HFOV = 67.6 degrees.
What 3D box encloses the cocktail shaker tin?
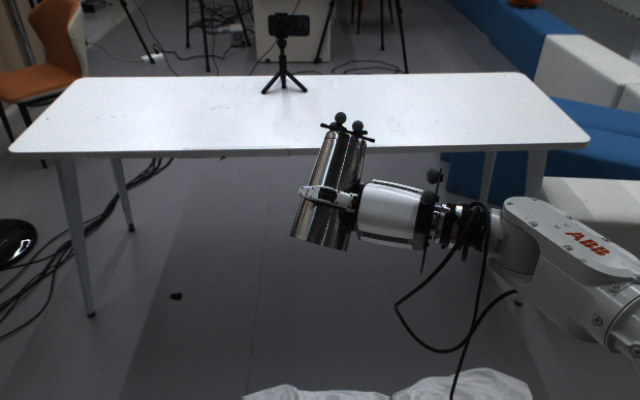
[{"bbox_3d":[0.019,-0.015,0.745,0.093,0.170,0.093,16,-4,1],"label":"cocktail shaker tin"}]
